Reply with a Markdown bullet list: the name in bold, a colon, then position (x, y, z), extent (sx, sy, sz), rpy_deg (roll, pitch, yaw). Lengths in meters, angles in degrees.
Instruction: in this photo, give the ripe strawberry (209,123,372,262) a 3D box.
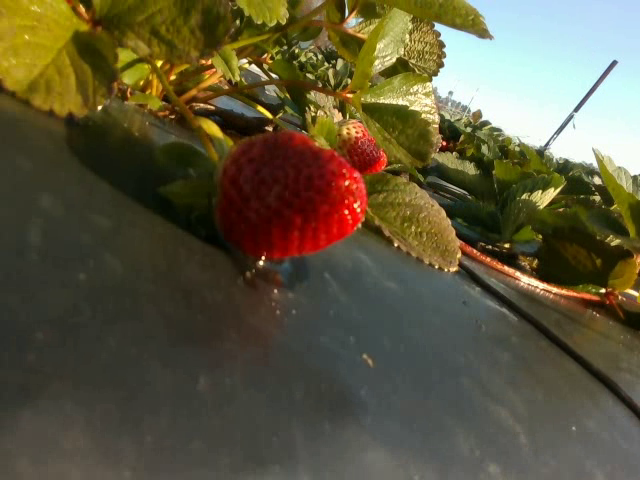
- **ripe strawberry**: position (-0.004, -0.008, 0.109), extent (0.028, 0.031, 0.041), rpy_deg (-10, 4, -37)
